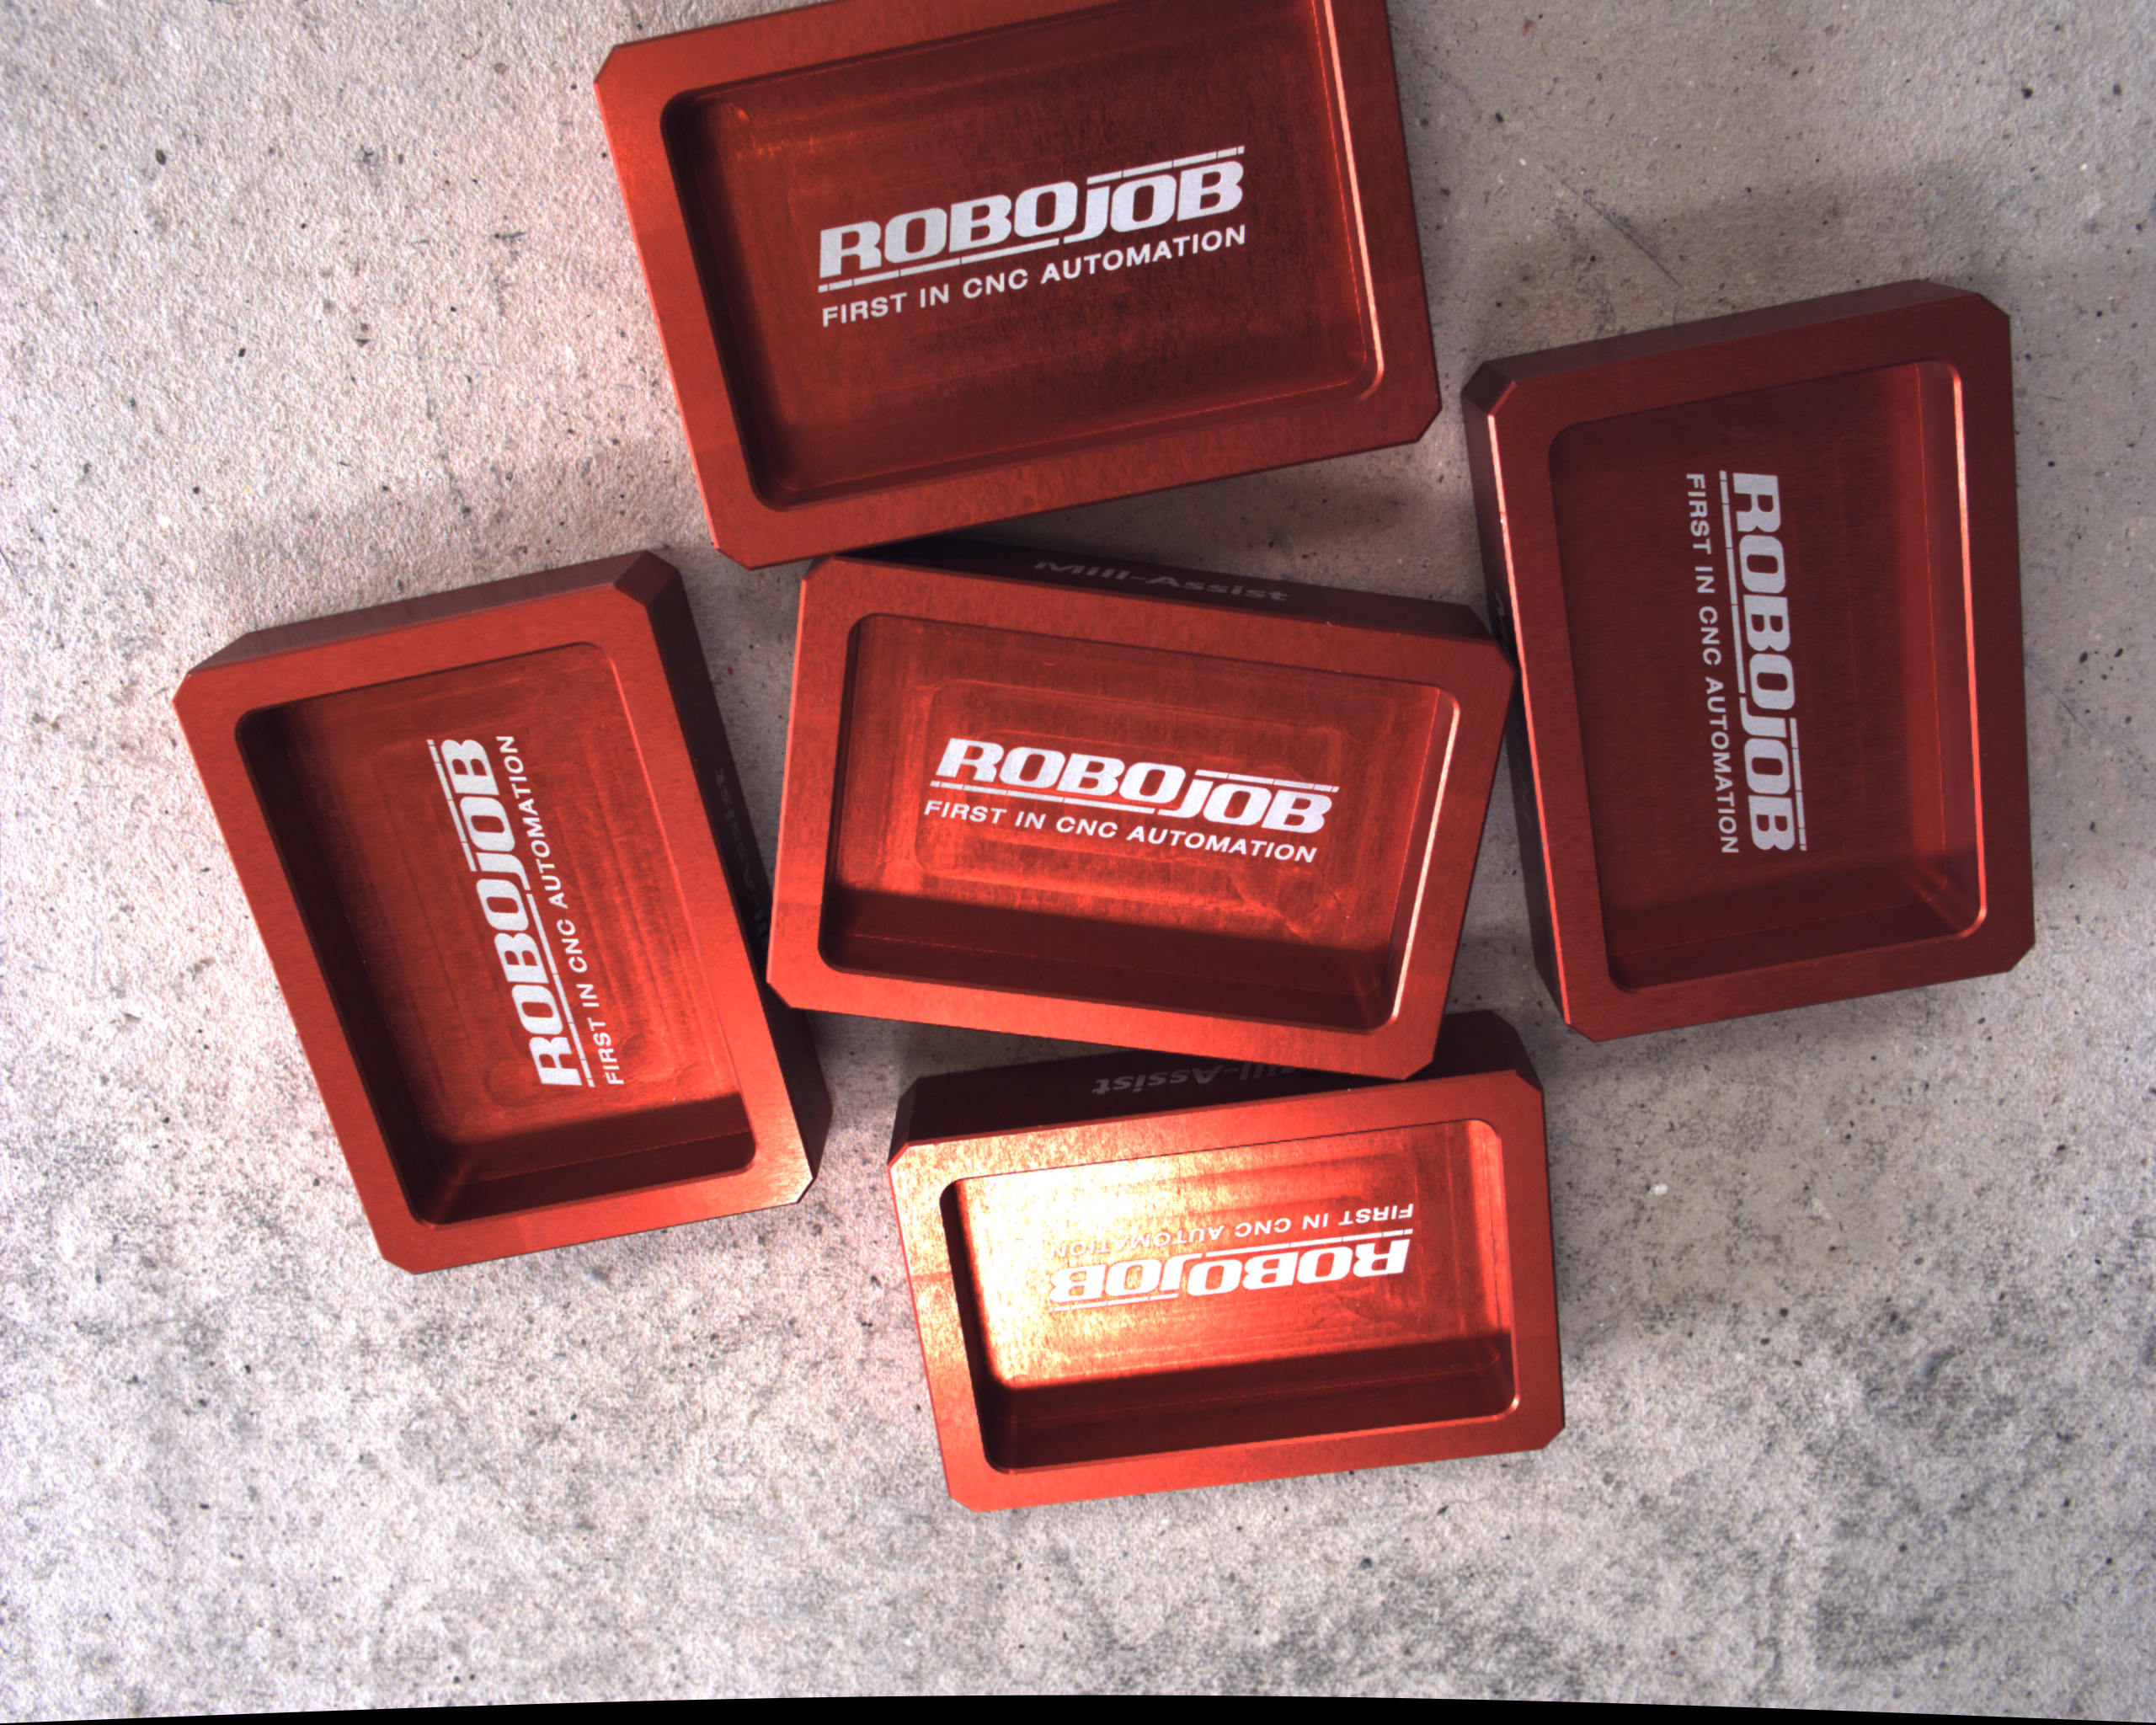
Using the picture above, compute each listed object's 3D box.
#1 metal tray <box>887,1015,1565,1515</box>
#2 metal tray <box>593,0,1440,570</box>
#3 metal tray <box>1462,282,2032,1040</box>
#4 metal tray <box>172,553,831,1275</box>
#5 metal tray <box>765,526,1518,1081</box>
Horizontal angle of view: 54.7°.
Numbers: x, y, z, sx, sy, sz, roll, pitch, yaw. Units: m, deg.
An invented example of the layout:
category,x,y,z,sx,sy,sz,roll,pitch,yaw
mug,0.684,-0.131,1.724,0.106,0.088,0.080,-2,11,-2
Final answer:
category,x,y,z,sx,sy,sz,roll,pitch,yaw
metal tray,0.032,0.085,0.439,0.131,0.030,0.089,-7,110,2
metal tray,-0.008,-0.109,0.368,0.131,0.030,0.089,-10,110,4
metal tray,0.128,-0.036,0.396,0.090,0.030,0.129,-10,110,4
metal tray,-0.109,0.012,0.412,0.090,0.030,0.129,-11,110,4
metal tray,0.010,-0.011,0.404,0.131,0.030,0.089,7,112,-3
